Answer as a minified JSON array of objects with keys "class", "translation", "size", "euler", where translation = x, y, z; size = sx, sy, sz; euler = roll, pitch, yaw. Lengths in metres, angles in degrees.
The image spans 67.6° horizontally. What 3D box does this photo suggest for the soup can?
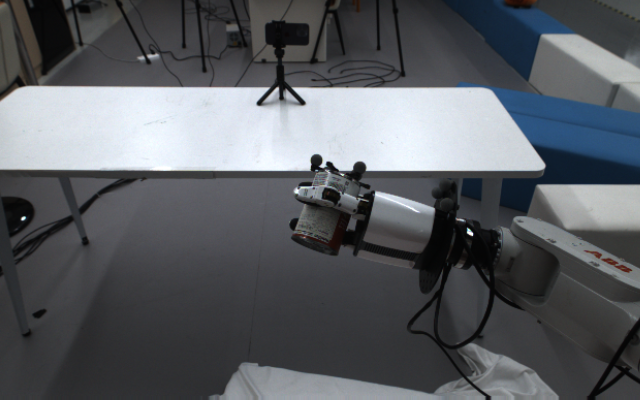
[{"class":"soup can","translation":[0.010,0.018,0.665],"size":[0.067,0.067,0.101],"euler":[15,75,18]}]
